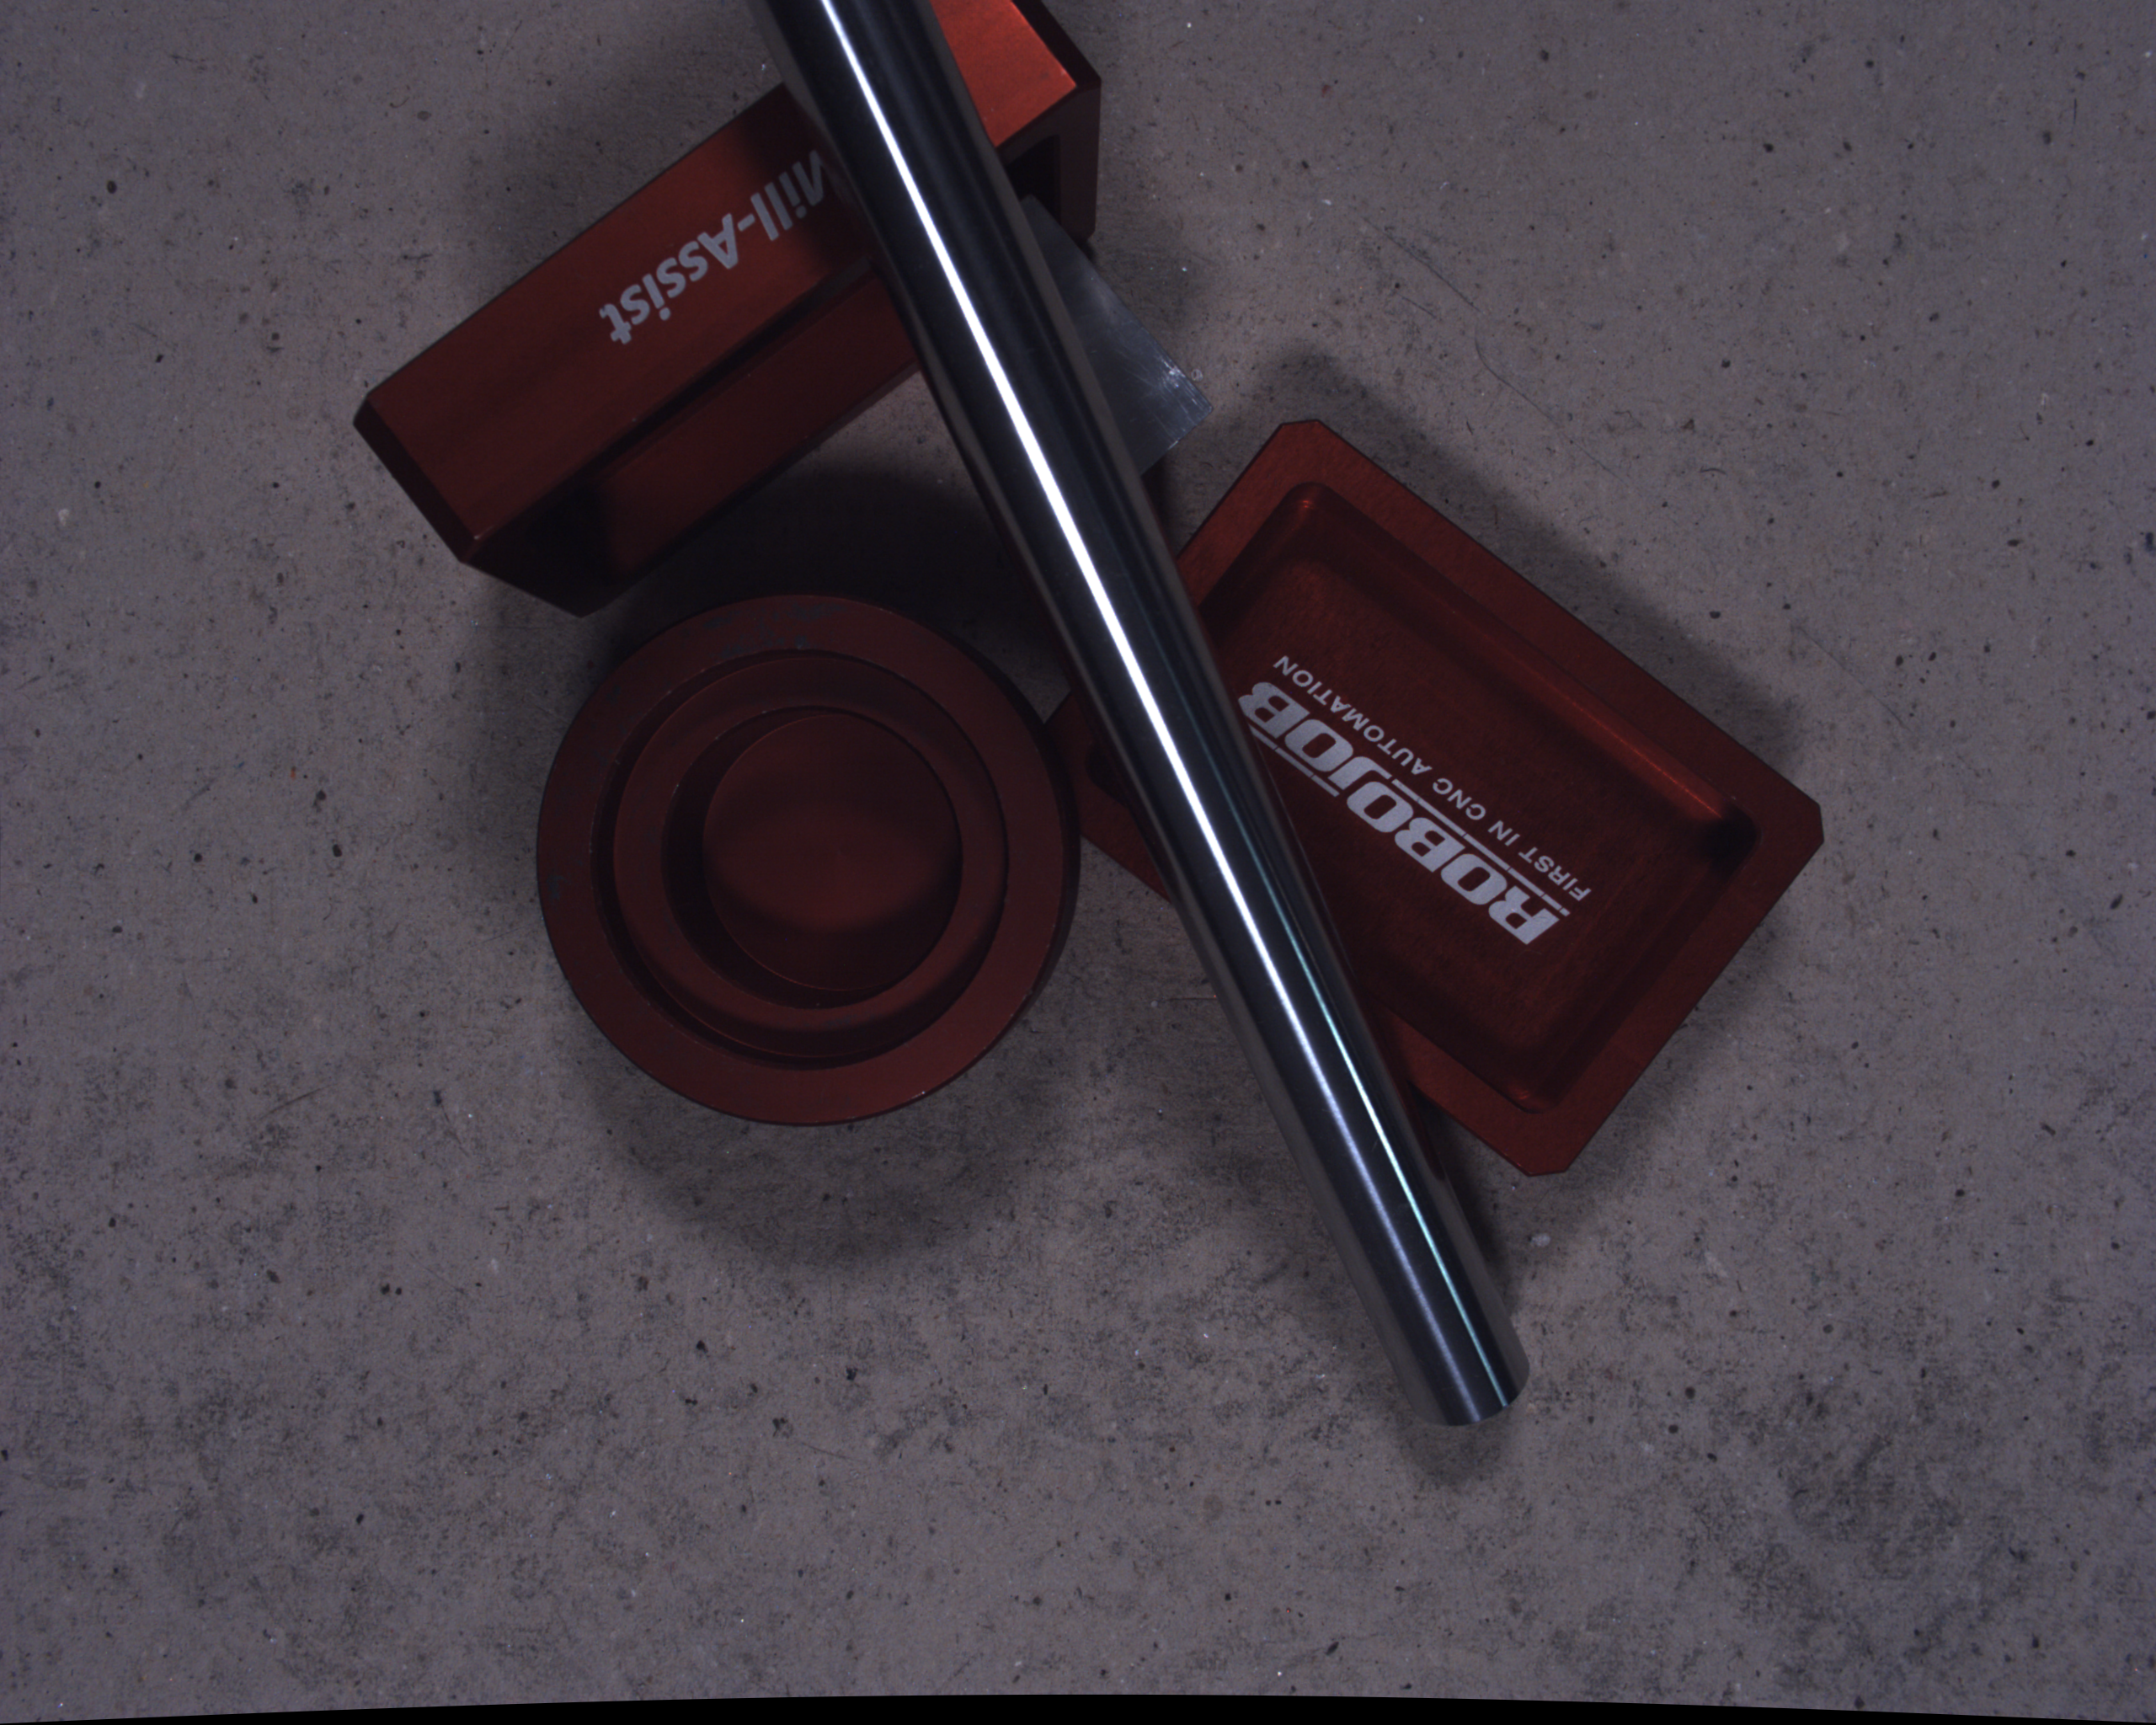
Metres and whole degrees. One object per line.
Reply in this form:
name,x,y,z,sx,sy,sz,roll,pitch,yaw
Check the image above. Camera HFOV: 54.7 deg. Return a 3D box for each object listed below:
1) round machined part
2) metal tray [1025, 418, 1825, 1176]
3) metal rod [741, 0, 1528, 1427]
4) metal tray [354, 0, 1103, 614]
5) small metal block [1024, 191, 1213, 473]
round machined part,-0.048,-0.001,0.398,0.099,0.042,0.097,0,93,5
metal tray,0.066,-0.012,0.410,0.130,0.030,0.090,38,90,-1
metal rod,0.016,-0.021,0.358,0.025,0.025,0.299,-26,112,0
metal tray,-0.057,-0.099,0.377,0.130,0.090,0.030,-37,90,0
small metal block,-0.005,-0.096,0.394,0.025,0.050,0.050,-43,105,2
